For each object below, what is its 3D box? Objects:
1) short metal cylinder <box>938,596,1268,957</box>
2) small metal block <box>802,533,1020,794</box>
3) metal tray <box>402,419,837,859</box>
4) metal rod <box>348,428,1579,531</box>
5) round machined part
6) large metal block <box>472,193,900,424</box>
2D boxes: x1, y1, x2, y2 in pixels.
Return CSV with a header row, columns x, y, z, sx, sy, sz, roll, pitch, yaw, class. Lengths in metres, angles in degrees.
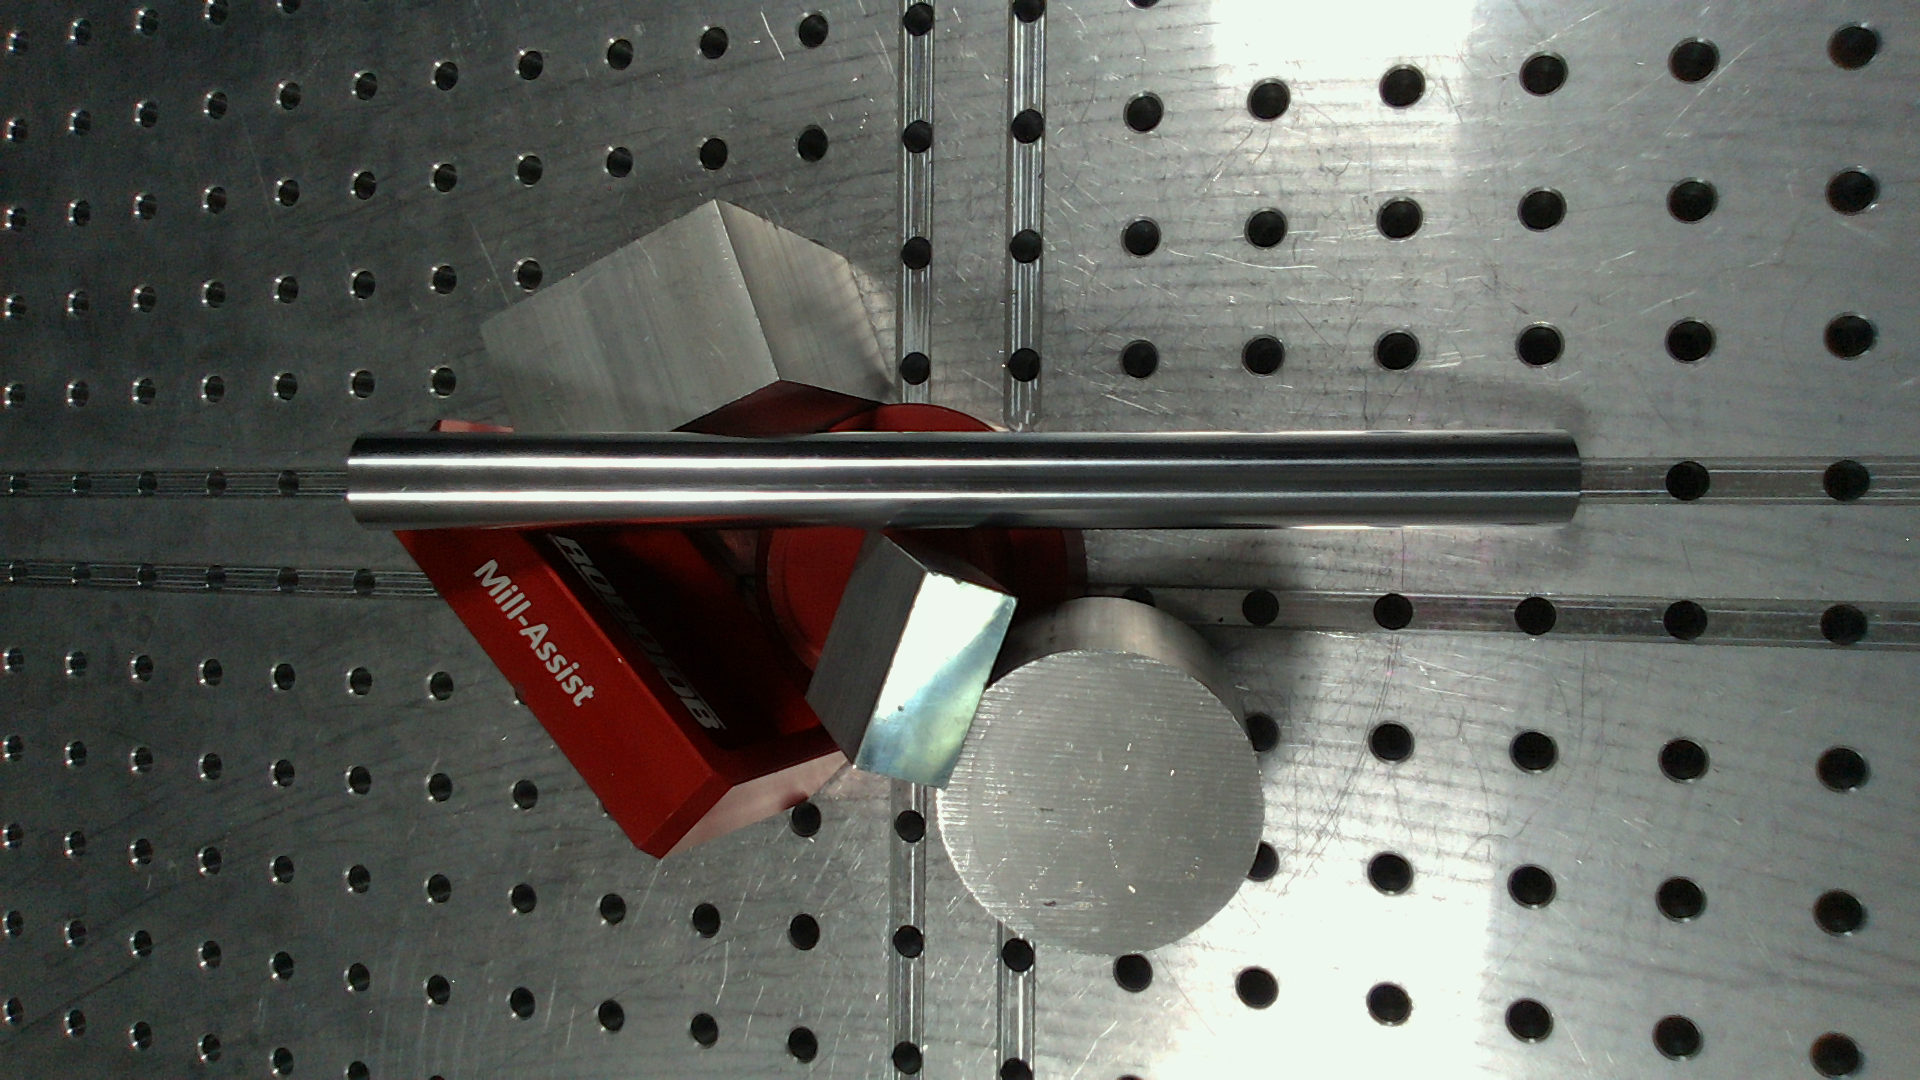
x,y,z,sx,sy,sz,roll,pitch,yaw,class
0.037,0.060,0.359,0.080,0.050,0.080,1,102,5,short metal cylinder
-0.014,0.028,0.344,0.025,0.050,0.050,18,96,-23,small metal block
-0.095,0.024,0.397,0.030,0.090,0.130,-45,76,15,metal tray
0.001,-0.015,0.347,0.300,0.025,0.025,0,90,0,metal rod
-0.015,0.009,0.398,0.098,0.042,0.098,0,90,20,round machined part
-0.075,-0.050,0.395,0.080,0.080,0.050,-23,83,19,large metal block
